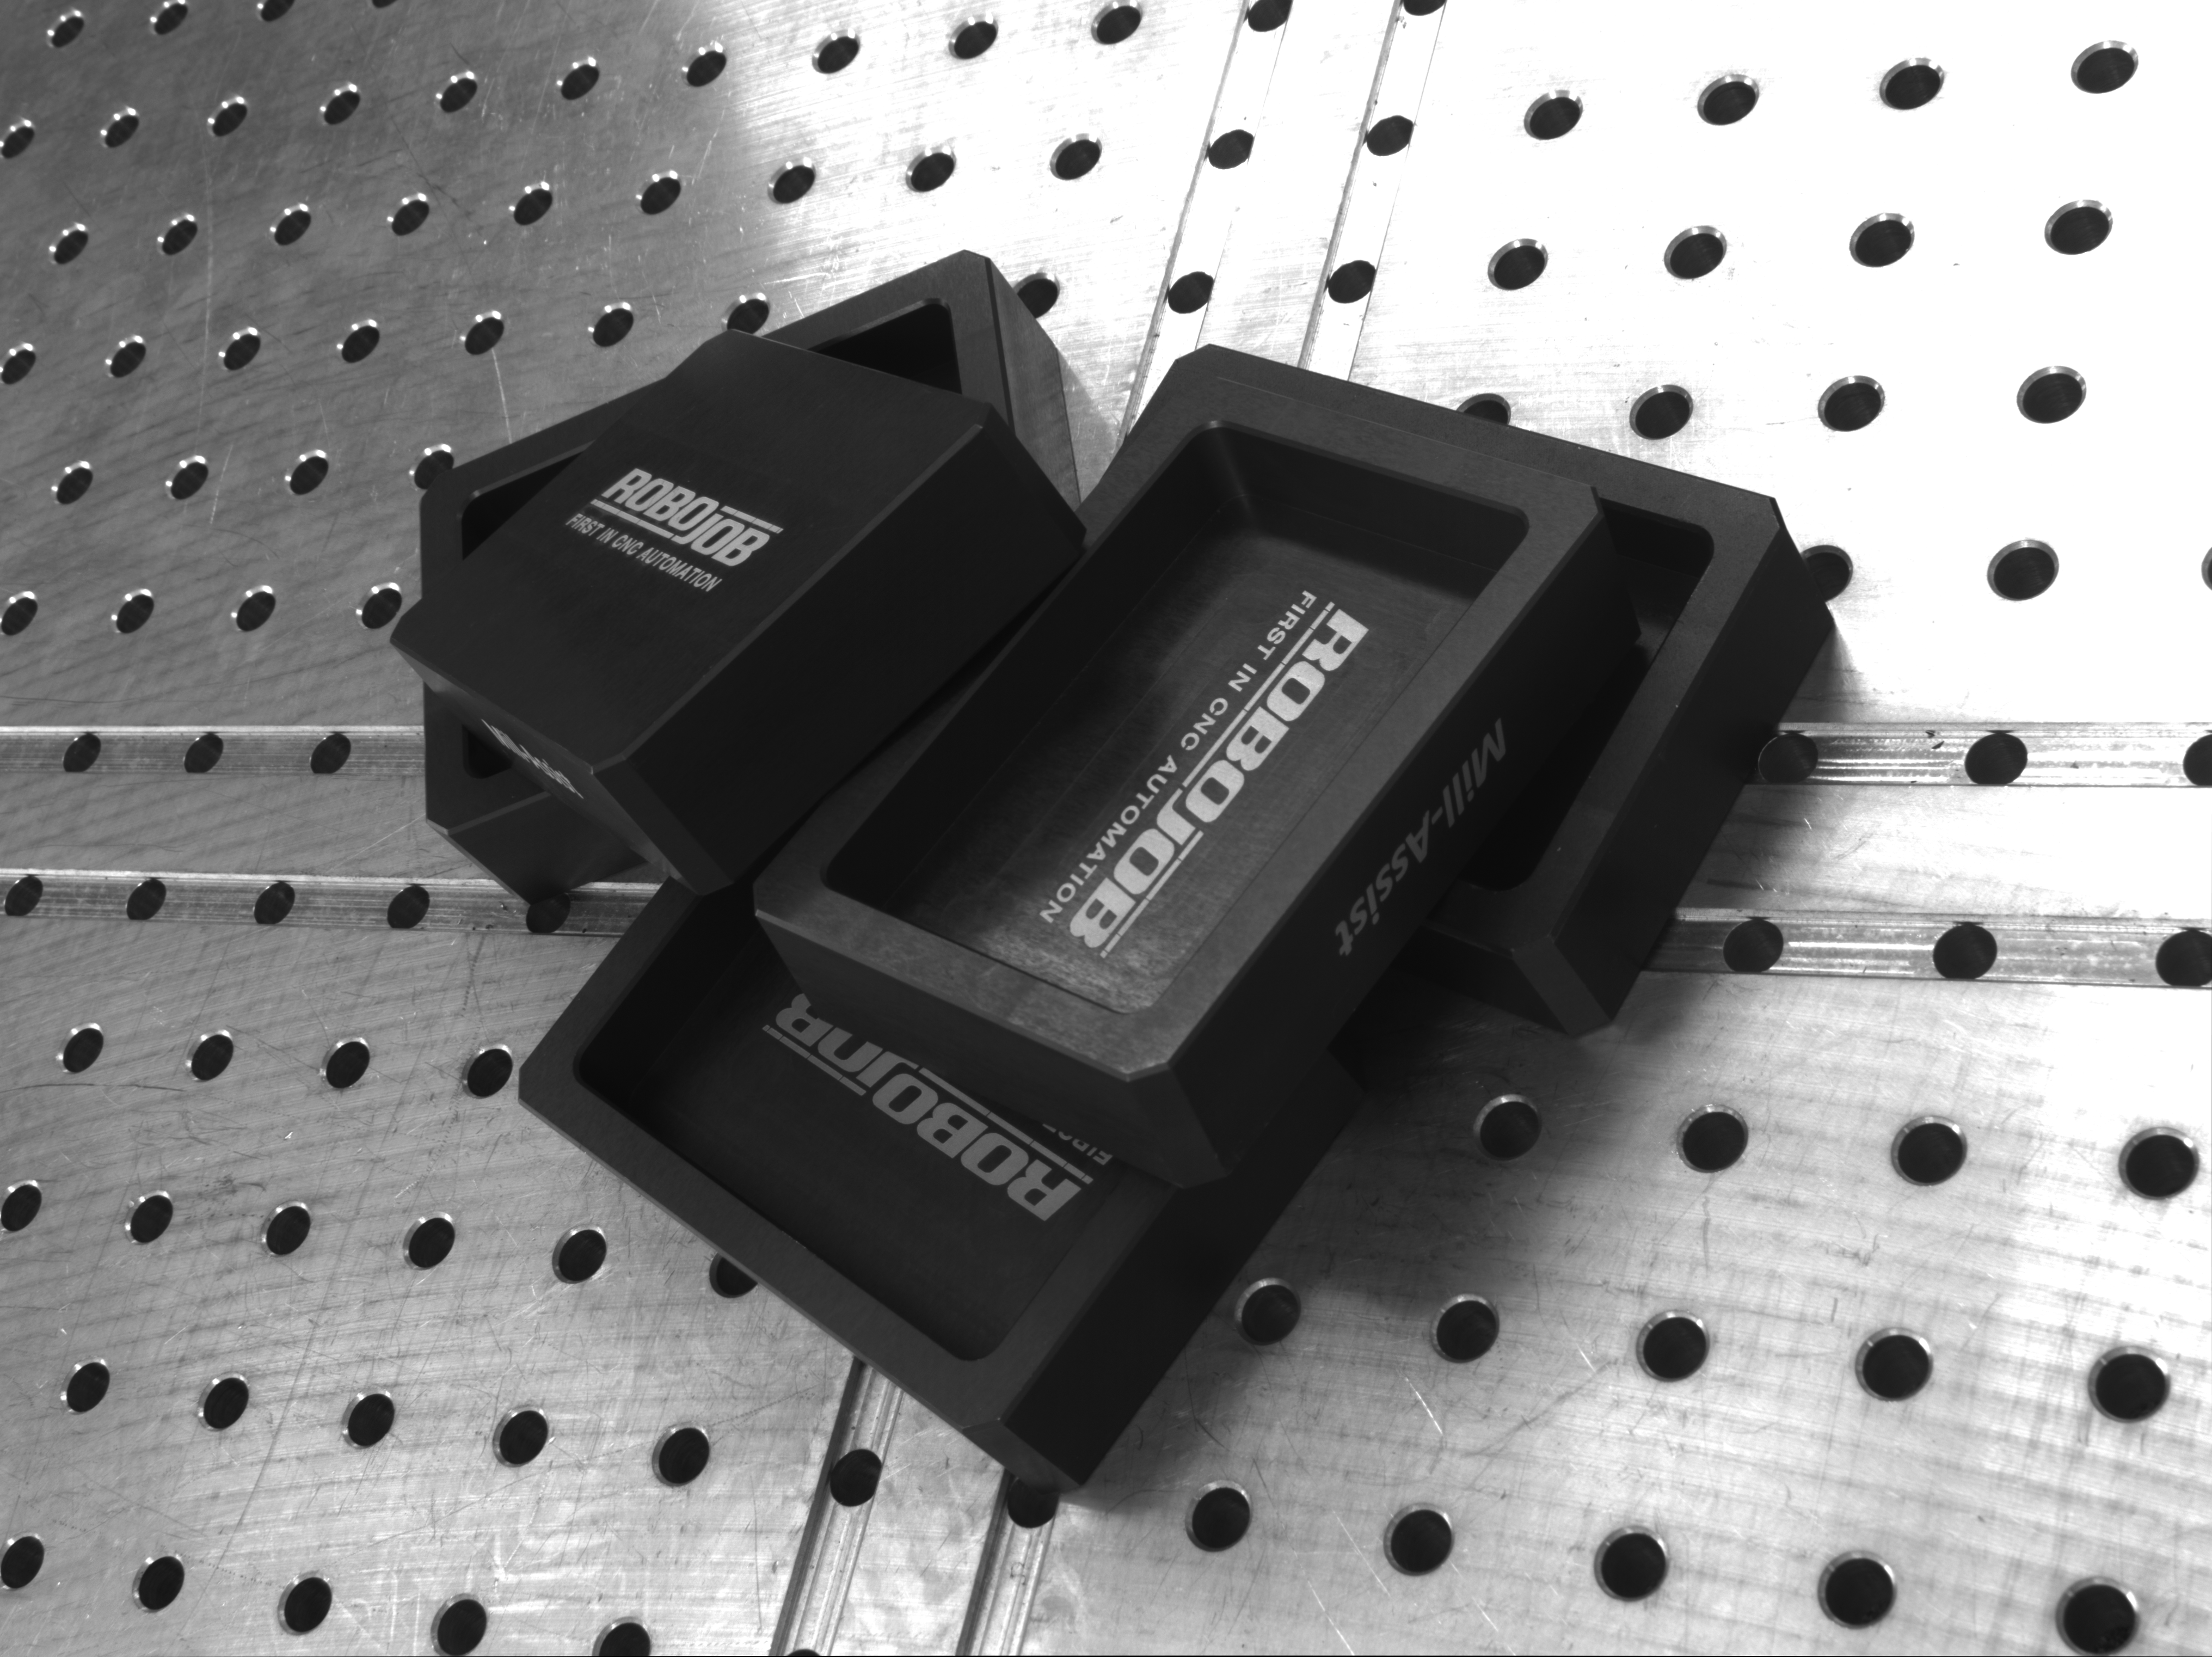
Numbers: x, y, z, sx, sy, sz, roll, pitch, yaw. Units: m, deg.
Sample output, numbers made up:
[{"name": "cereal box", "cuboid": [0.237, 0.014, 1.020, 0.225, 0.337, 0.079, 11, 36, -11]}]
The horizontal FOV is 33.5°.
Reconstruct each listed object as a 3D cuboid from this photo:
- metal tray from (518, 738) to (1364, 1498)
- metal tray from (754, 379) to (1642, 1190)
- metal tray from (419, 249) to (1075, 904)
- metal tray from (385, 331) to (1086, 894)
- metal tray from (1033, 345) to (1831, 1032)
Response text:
[{"name": "metal tray", "cuboid": [-0.031, 0.044, 0.635, 0.130, 0.030, 0.090, 29, 78, 38]}, {"name": "metal tray", "cuboid": [0.016, -0.012, 0.604, 0.090, 0.030, 0.130, 22, 62, 37]}, {"name": "metal tray", "cuboid": [-0.070, -0.049, 0.713, 0.130, 0.030, 0.090, -21, 53, 17]}, {"name": "metal tray", "cuboid": [-0.070, -0.043, 0.657, 0.090, 0.030, 0.130, -44, 28, -11]}, {"name": "metal tray", "cuboid": [0.047, -0.028, 0.636, 0.130, 0.030, 0.090, 20, 72, 37]}]
